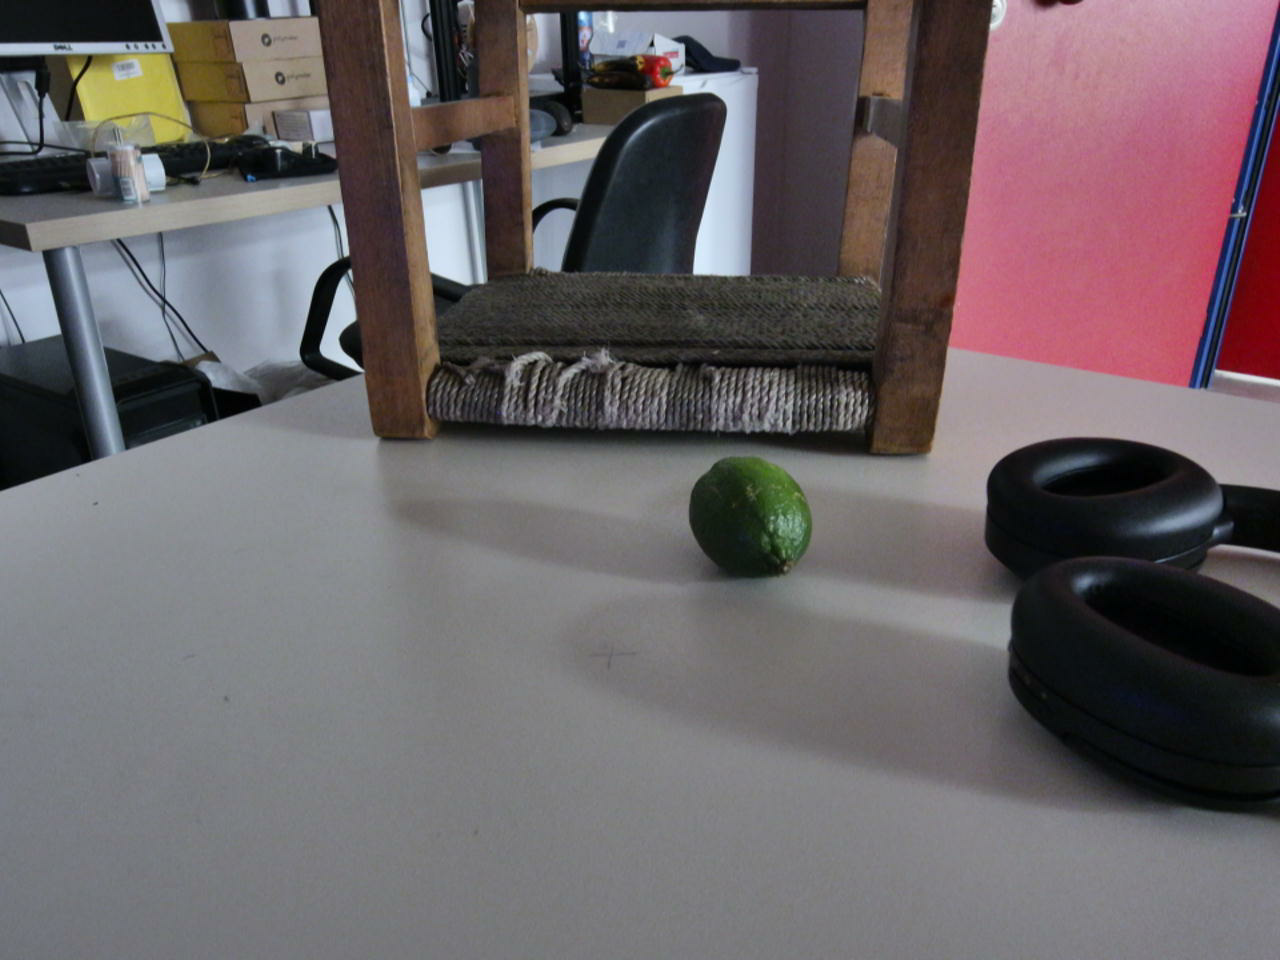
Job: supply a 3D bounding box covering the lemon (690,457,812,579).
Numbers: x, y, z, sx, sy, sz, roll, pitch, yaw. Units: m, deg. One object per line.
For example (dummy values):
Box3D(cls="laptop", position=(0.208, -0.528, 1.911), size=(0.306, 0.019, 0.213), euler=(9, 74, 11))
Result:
Box3D(cls="lemon", position=(0.049, 0.016, 0.441), size=(0.057, 0.051, 0.054), euler=(15, 27, 32))
